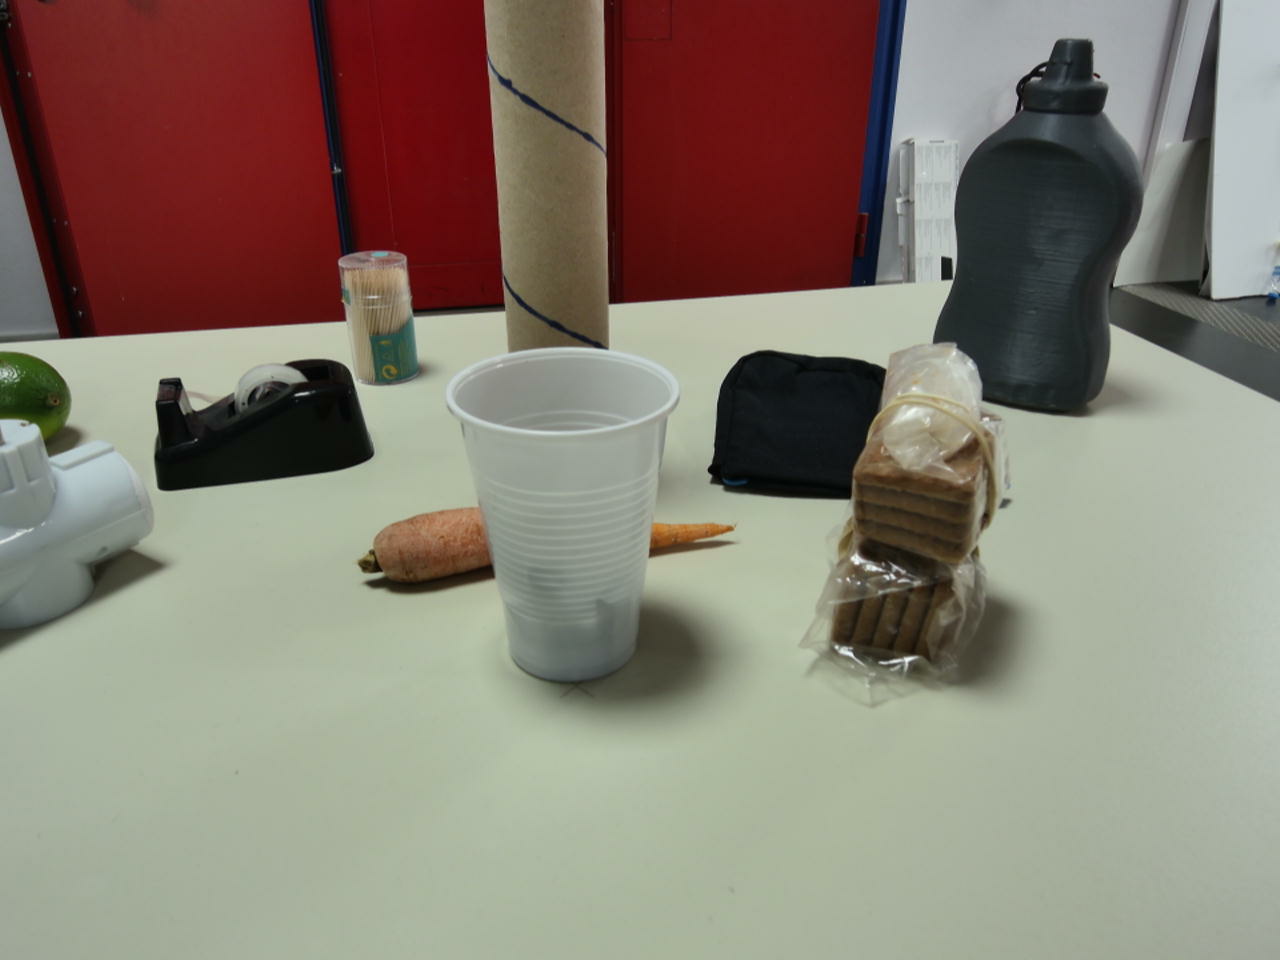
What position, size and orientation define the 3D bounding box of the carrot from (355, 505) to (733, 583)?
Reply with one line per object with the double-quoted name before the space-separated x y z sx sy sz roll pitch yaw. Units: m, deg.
"carrot" -0.038 0.023 0.439 0.163 0.029 0.031 -5 25 -12
